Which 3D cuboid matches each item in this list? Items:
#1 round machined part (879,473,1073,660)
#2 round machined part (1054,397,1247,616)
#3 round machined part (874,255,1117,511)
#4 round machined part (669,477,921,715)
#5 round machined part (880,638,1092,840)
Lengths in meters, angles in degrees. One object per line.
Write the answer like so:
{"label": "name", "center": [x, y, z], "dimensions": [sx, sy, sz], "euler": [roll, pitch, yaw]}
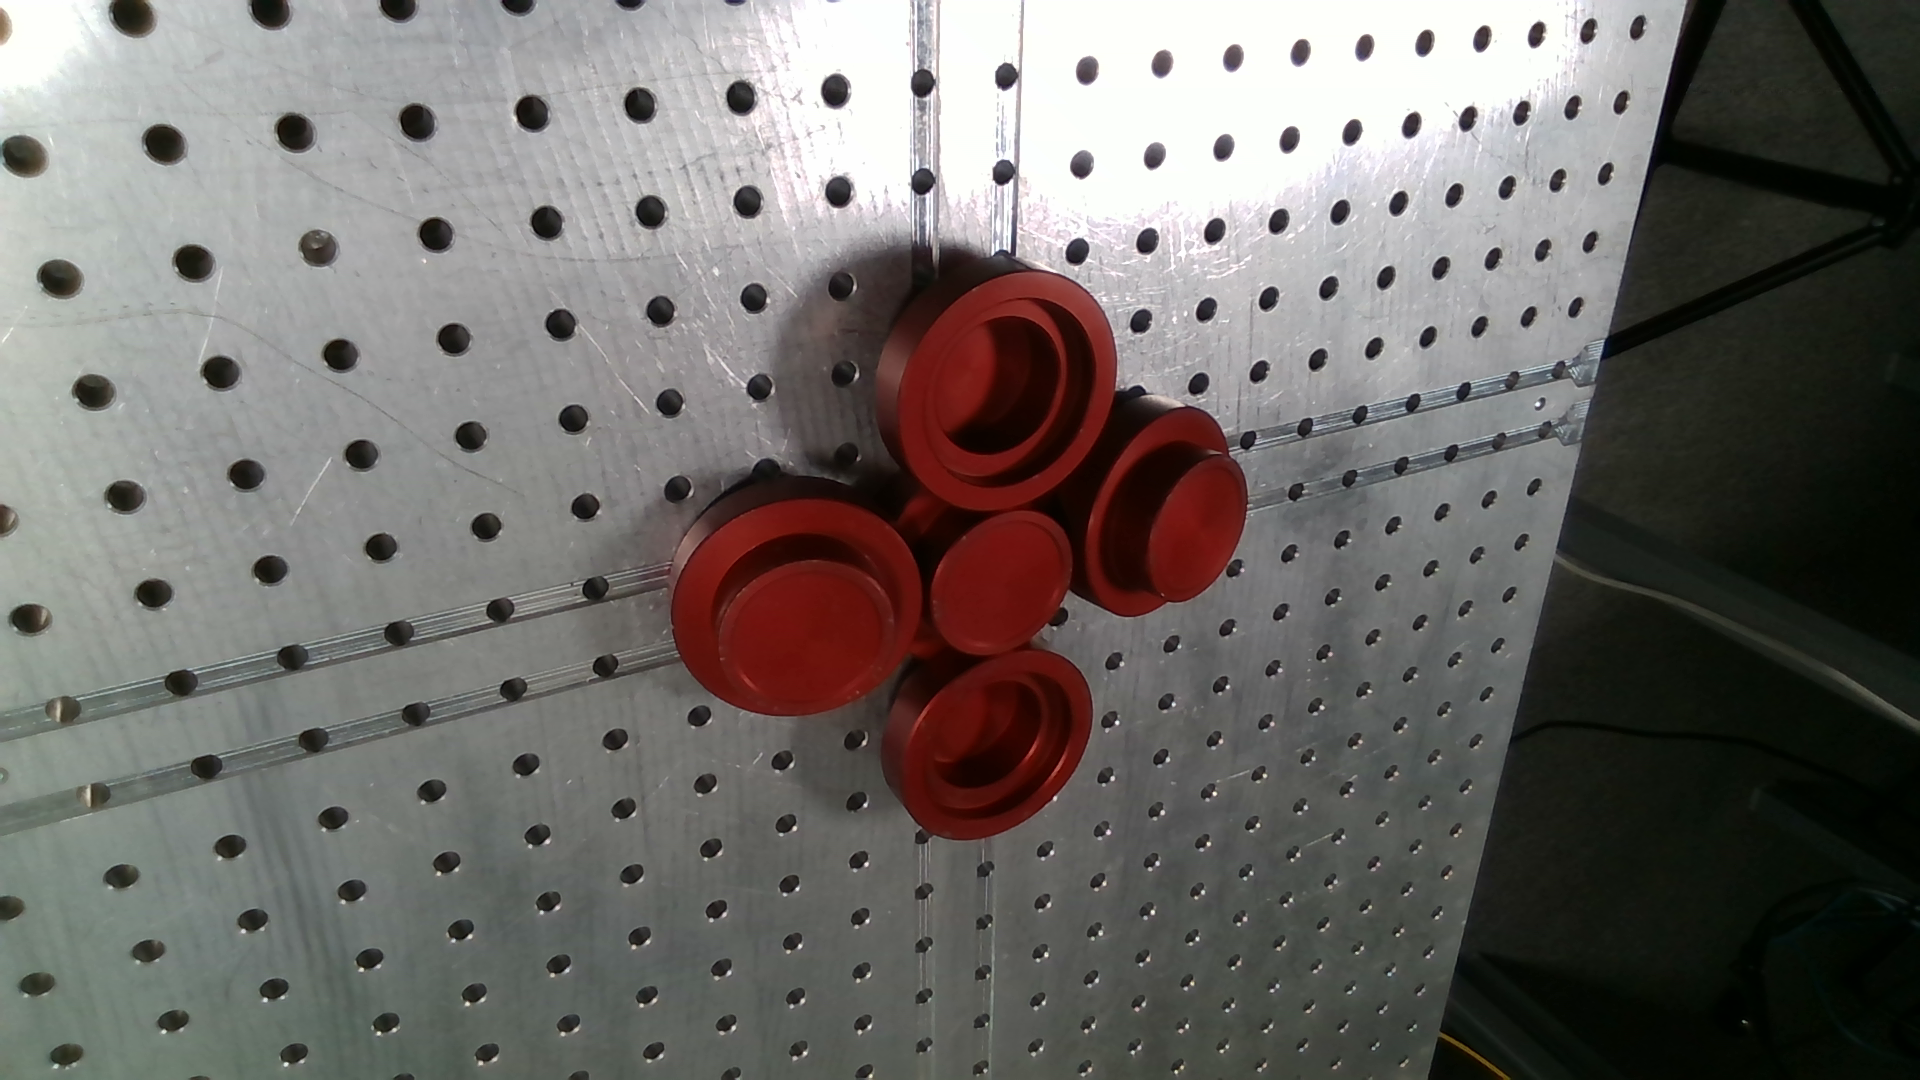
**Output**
{"label": "round machined part", "center": [0.008, 0.009, 0.582], "dimensions": [0.098, 0.042, 0.098], "euler": [-14, 122, -25]}
{"label": "round machined part", "center": [0.089, -0.012, 0.606], "dimensions": [0.098, 0.042, 0.098], "euler": [-22, 124, -38]}
{"label": "round machined part", "center": [0.010, -0.065, 0.543], "dimensions": [0.098, 0.042, 0.098], "euler": [-14, 122, -25]}
{"label": "round machined part", "center": [-0.063, 0.028, 0.535], "dimensions": [0.098, 0.042, 0.098], "euler": [-7, 119, -12]}
{"label": "round machined part", "center": [0.008, 0.083, 0.622], "dimensions": [0.098, 0.042, 0.098], "euler": [-14, 122, -25]}
